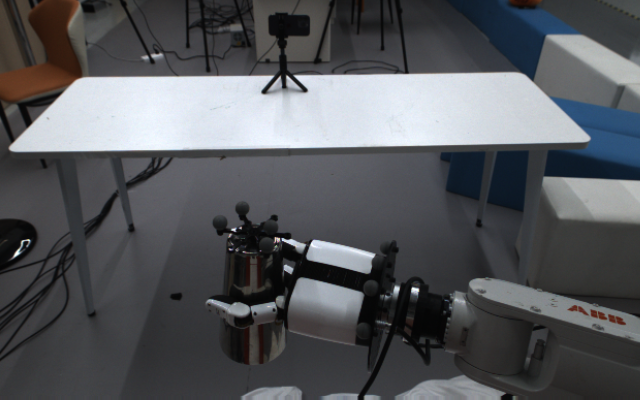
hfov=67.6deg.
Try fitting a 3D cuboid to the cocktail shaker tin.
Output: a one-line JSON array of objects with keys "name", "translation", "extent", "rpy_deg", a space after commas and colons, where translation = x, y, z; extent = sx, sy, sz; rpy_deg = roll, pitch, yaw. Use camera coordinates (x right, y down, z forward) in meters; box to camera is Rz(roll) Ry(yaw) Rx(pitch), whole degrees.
[{"name": "cocktail shaker tin", "translation": [-0.084, 0.117, 0.619], "extent": [0.093, 0.170, 0.093], "rpy_deg": [4, 32, -2]}]
